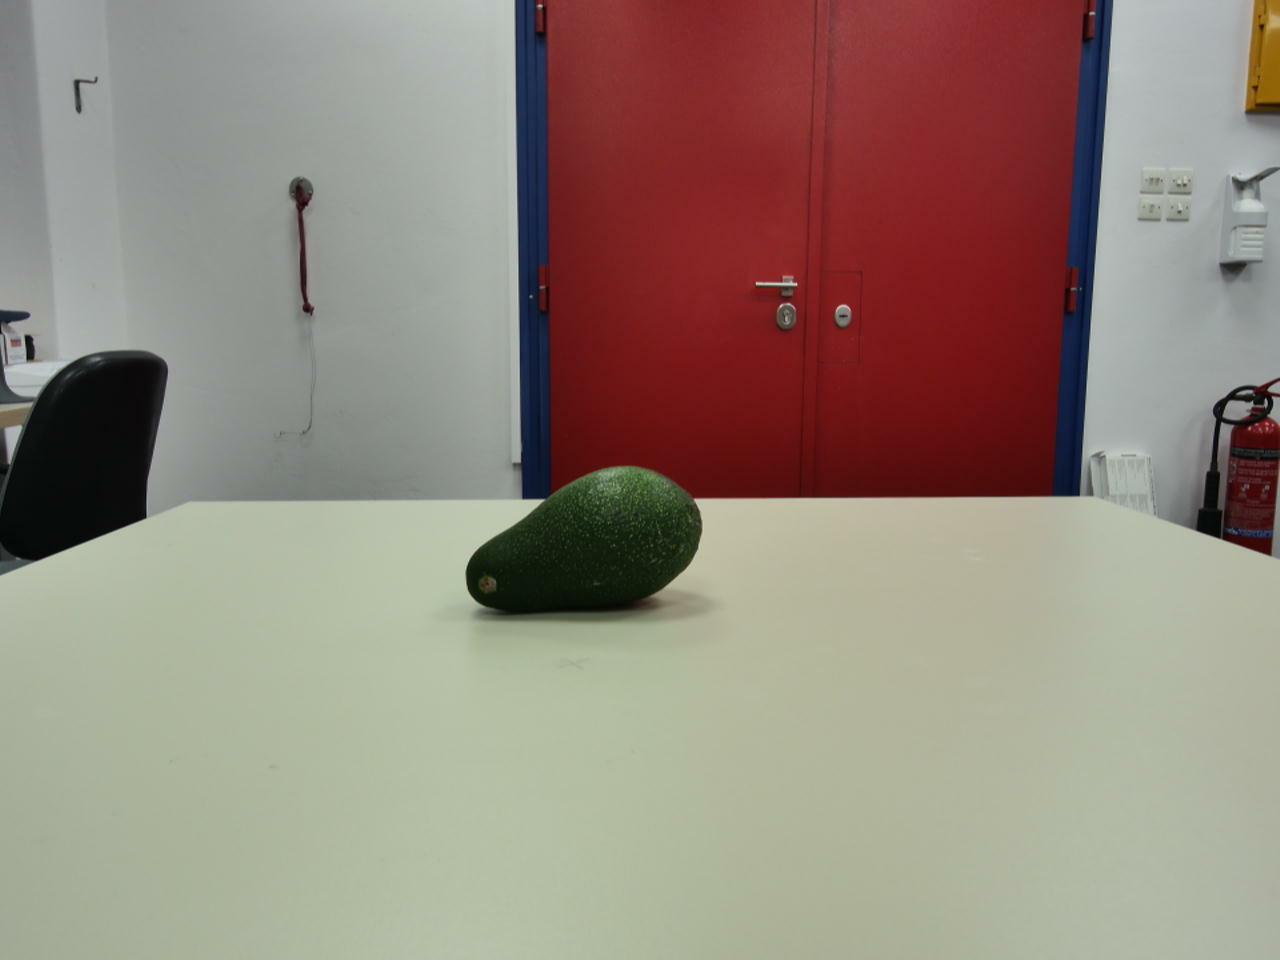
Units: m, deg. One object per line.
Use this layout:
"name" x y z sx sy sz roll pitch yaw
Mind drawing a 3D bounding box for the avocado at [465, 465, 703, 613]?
"avocado" -0.028 0.030 0.539 0.123 0.076 0.074 0 6 5
